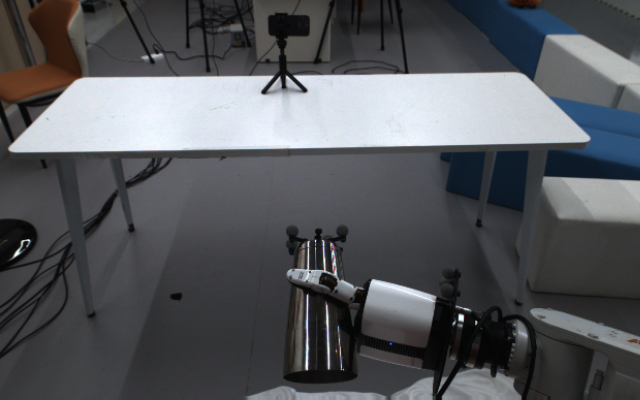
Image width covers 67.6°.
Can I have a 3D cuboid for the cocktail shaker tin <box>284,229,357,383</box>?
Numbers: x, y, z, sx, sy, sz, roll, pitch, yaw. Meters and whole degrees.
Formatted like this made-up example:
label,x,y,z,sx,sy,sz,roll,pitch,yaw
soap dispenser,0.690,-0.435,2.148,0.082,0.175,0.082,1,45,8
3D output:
label,x,y,z,sx,sy,sz,roll,pitch,yaw
cocktail shaker tin,-0.002,0.142,0.627,0.093,0.093,0.170,0,59,-3
